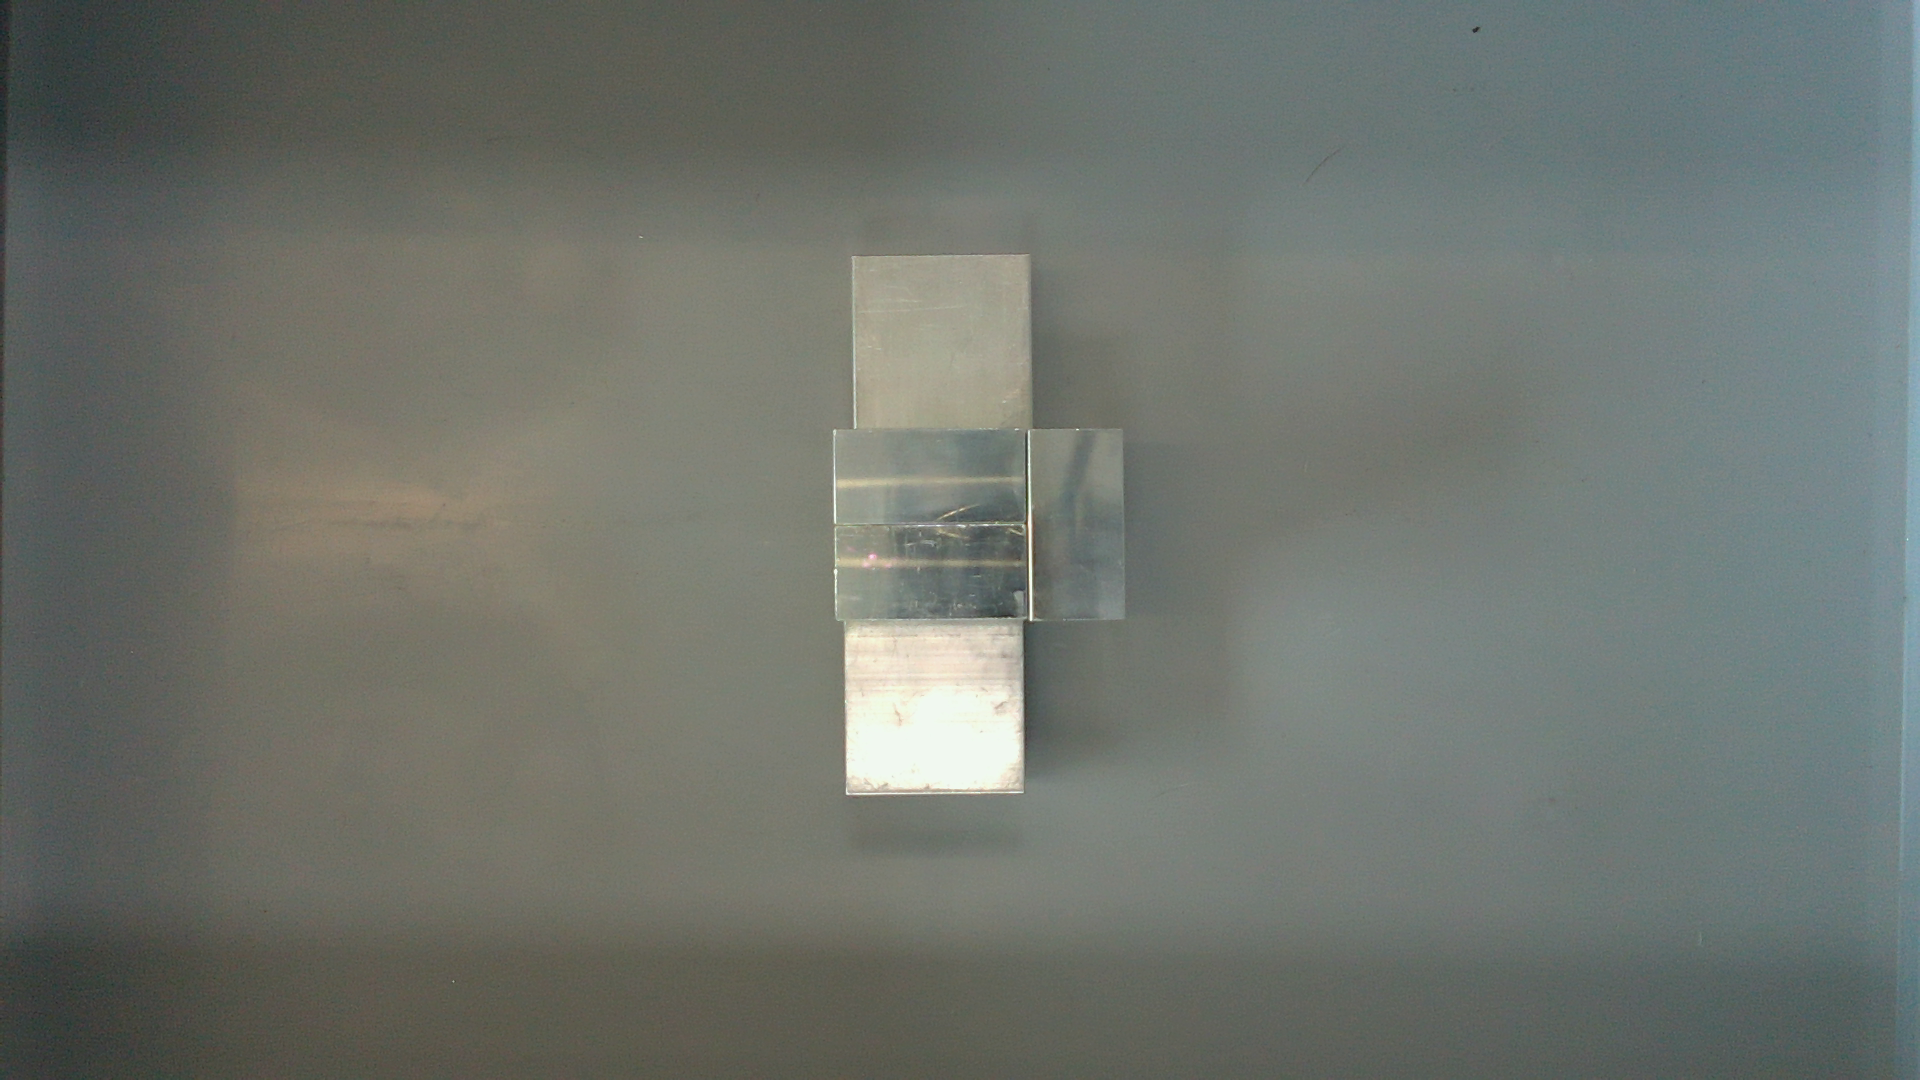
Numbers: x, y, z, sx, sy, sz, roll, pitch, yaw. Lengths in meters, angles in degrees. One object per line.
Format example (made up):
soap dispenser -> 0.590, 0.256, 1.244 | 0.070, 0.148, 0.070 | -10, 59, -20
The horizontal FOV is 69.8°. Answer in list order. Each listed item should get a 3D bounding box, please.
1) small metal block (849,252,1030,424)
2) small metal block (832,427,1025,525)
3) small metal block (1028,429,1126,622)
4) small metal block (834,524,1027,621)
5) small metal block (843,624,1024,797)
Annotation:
small metal block -> -0.005, -0.055, 0.394 | 0.050, 0.025, 0.050 | 0, 90, 0
small metal block -> -0.008, -0.017, 0.381 | 0.050, 0.050, 0.025 | 0, 90, 0
small metal block -> 0.030, -0.004, 0.382 | 0.025, 0.050, 0.050 | 0, 90, 0
small metal block -> -0.008, 0.008, 0.381 | 0.050, 0.050, 0.025 | 0, 90, 0
small metal block -> -0.007, 0.046, 0.394 | 0.050, 0.025, 0.050 | 0, 90, 0
